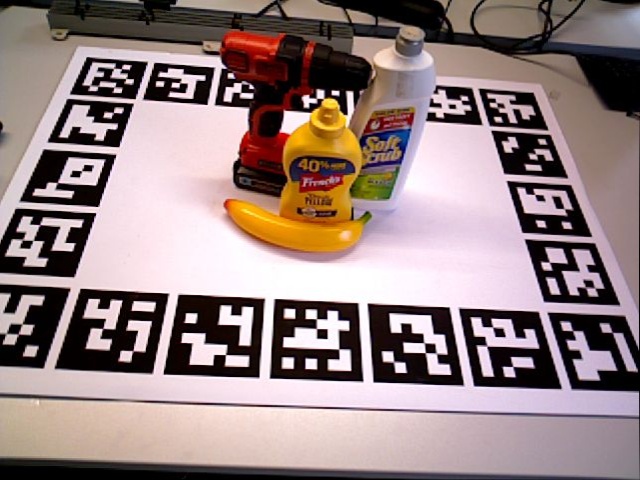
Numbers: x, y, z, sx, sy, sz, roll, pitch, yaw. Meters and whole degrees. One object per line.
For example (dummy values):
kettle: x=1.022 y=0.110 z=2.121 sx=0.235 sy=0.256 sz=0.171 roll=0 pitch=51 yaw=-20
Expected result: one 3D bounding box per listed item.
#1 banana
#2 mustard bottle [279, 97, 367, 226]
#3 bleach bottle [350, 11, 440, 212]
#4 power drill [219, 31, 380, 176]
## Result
banana: x=-0.025 y=-0.017 z=0.690 sx=0.196 sy=0.039 sz=0.073 roll=7 pitch=54 yaw=1
mustard bottle: x=0.004 y=-0.092 z=0.640 sx=0.095 sy=0.196 sz=0.057 roll=5 pitch=52 yaw=-4
bleach bottle: x=0.077 y=-0.147 z=0.658 sx=0.102 sy=0.257 sz=0.066 roll=7 pitch=47 yaw=-2
power drill: x=-0.033 y=-0.163 z=0.663 sx=0.184 sy=0.191 sz=0.056 roll=15 pitch=51 yaw=3
